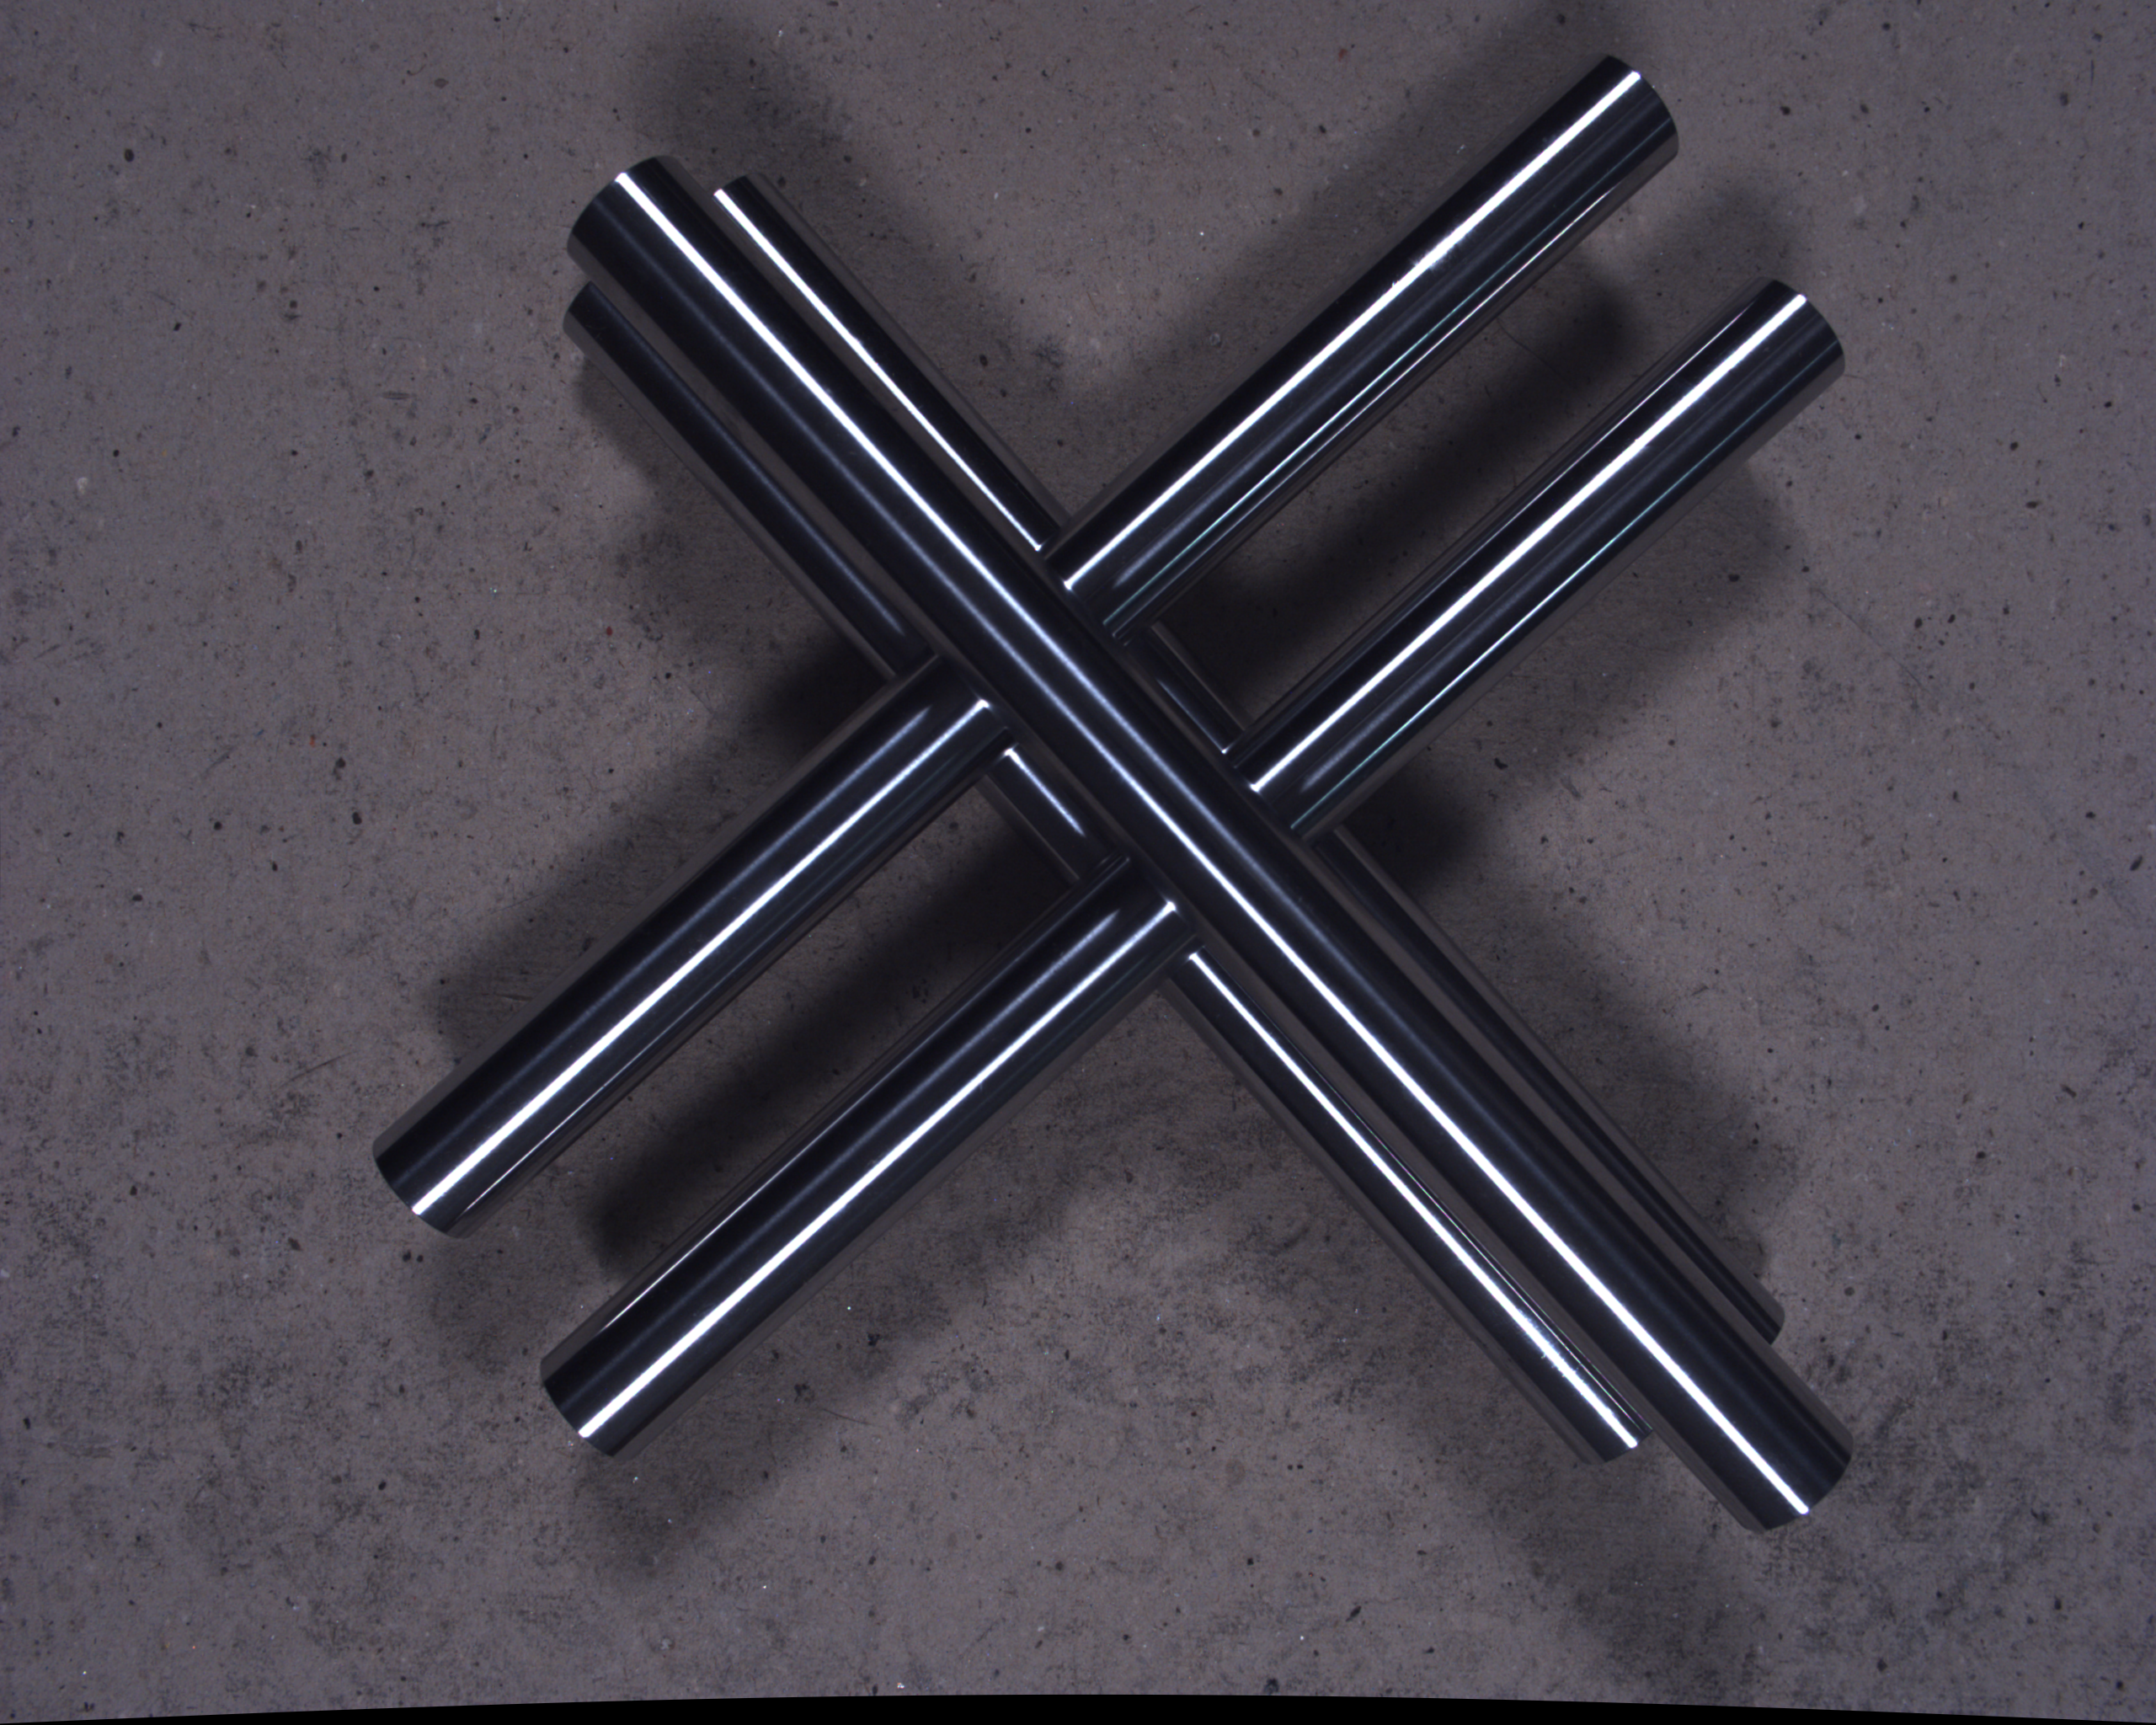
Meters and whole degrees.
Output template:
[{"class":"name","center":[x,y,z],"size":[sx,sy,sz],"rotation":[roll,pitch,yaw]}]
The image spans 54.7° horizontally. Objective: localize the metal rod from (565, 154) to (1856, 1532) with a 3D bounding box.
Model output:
[{"class":"metal rod","center":[0.023,-0.003,0.361],"size":[0.025,0.025,0.300],"rotation":[-43,91,0]}]

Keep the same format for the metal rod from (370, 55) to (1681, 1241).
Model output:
[{"class":"metal rod","center":[-0.009,-0.040,0.386],"size":[0.300,0.025,0.025],"rotation":[-42,91,-1]}]

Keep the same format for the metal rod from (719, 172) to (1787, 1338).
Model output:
[{"class":"metal rod","center":[0.030,-0.015,0.411],"size":[0.025,0.025,0.300],"rotation":[-42,91,0]}]

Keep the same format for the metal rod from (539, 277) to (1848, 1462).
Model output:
[{"class":"metal rod","center":[0.022,0.001,0.386],"size":[0.300,0.025,0.025],"rotation":[-42,91,-1]}]

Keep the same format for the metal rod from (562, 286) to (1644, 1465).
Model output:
[{"class":"metal rod","center":[0.009,-0.001,0.411],"size":[0.025,0.025,0.300],"rotation":[-42,91,0]}]
